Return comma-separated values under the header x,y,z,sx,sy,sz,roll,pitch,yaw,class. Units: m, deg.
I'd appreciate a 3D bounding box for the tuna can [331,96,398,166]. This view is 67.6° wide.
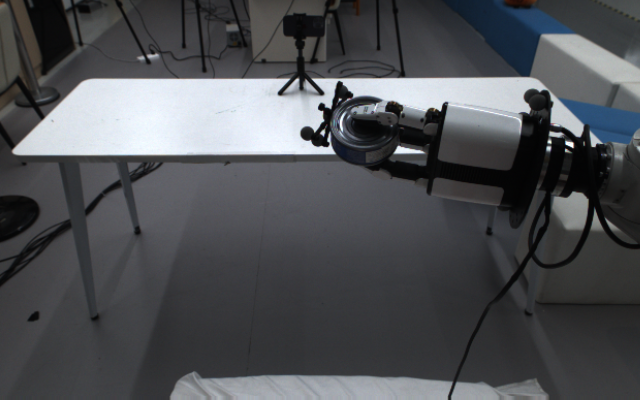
x,y,z,sx,sy,sz,roll,pitch,yaw,class
0.057,-0.087,0.599,0.085,0.034,0.085,-1,61,1,tuna can
